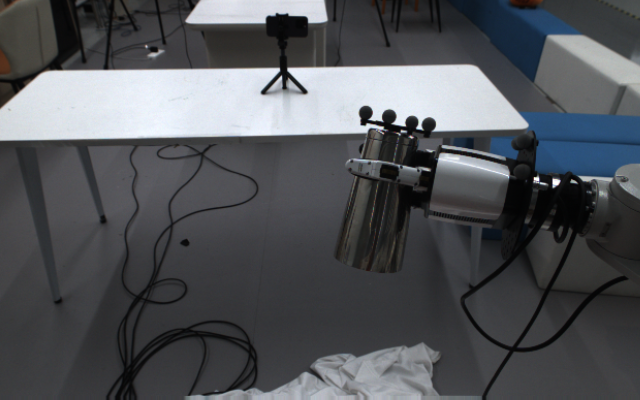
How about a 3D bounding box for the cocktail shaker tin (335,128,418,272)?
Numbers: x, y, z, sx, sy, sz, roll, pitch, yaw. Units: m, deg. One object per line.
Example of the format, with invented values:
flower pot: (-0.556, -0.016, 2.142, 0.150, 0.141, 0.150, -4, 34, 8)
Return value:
cocktail shaker tin: (0.082, -0.005, 0.626, 0.093, 0.170, 0.093, 10, 9, -2)
